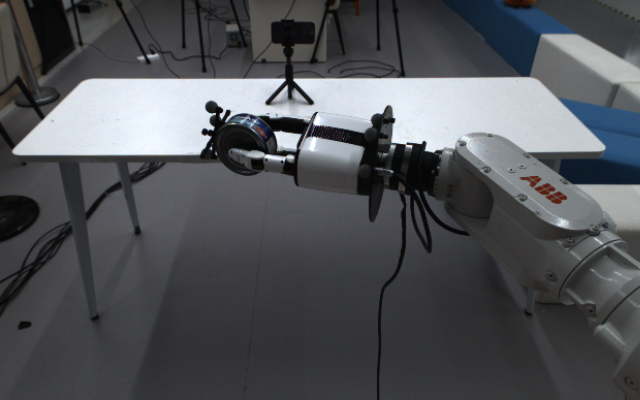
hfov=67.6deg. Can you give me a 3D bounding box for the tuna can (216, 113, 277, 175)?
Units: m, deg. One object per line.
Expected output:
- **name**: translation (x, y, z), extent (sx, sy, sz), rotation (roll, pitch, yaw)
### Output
- **tuna can**: translation (-0.106, -0.080, 0.695), extent (0.085, 0.085, 0.034), rotation (11, 36, 12)
